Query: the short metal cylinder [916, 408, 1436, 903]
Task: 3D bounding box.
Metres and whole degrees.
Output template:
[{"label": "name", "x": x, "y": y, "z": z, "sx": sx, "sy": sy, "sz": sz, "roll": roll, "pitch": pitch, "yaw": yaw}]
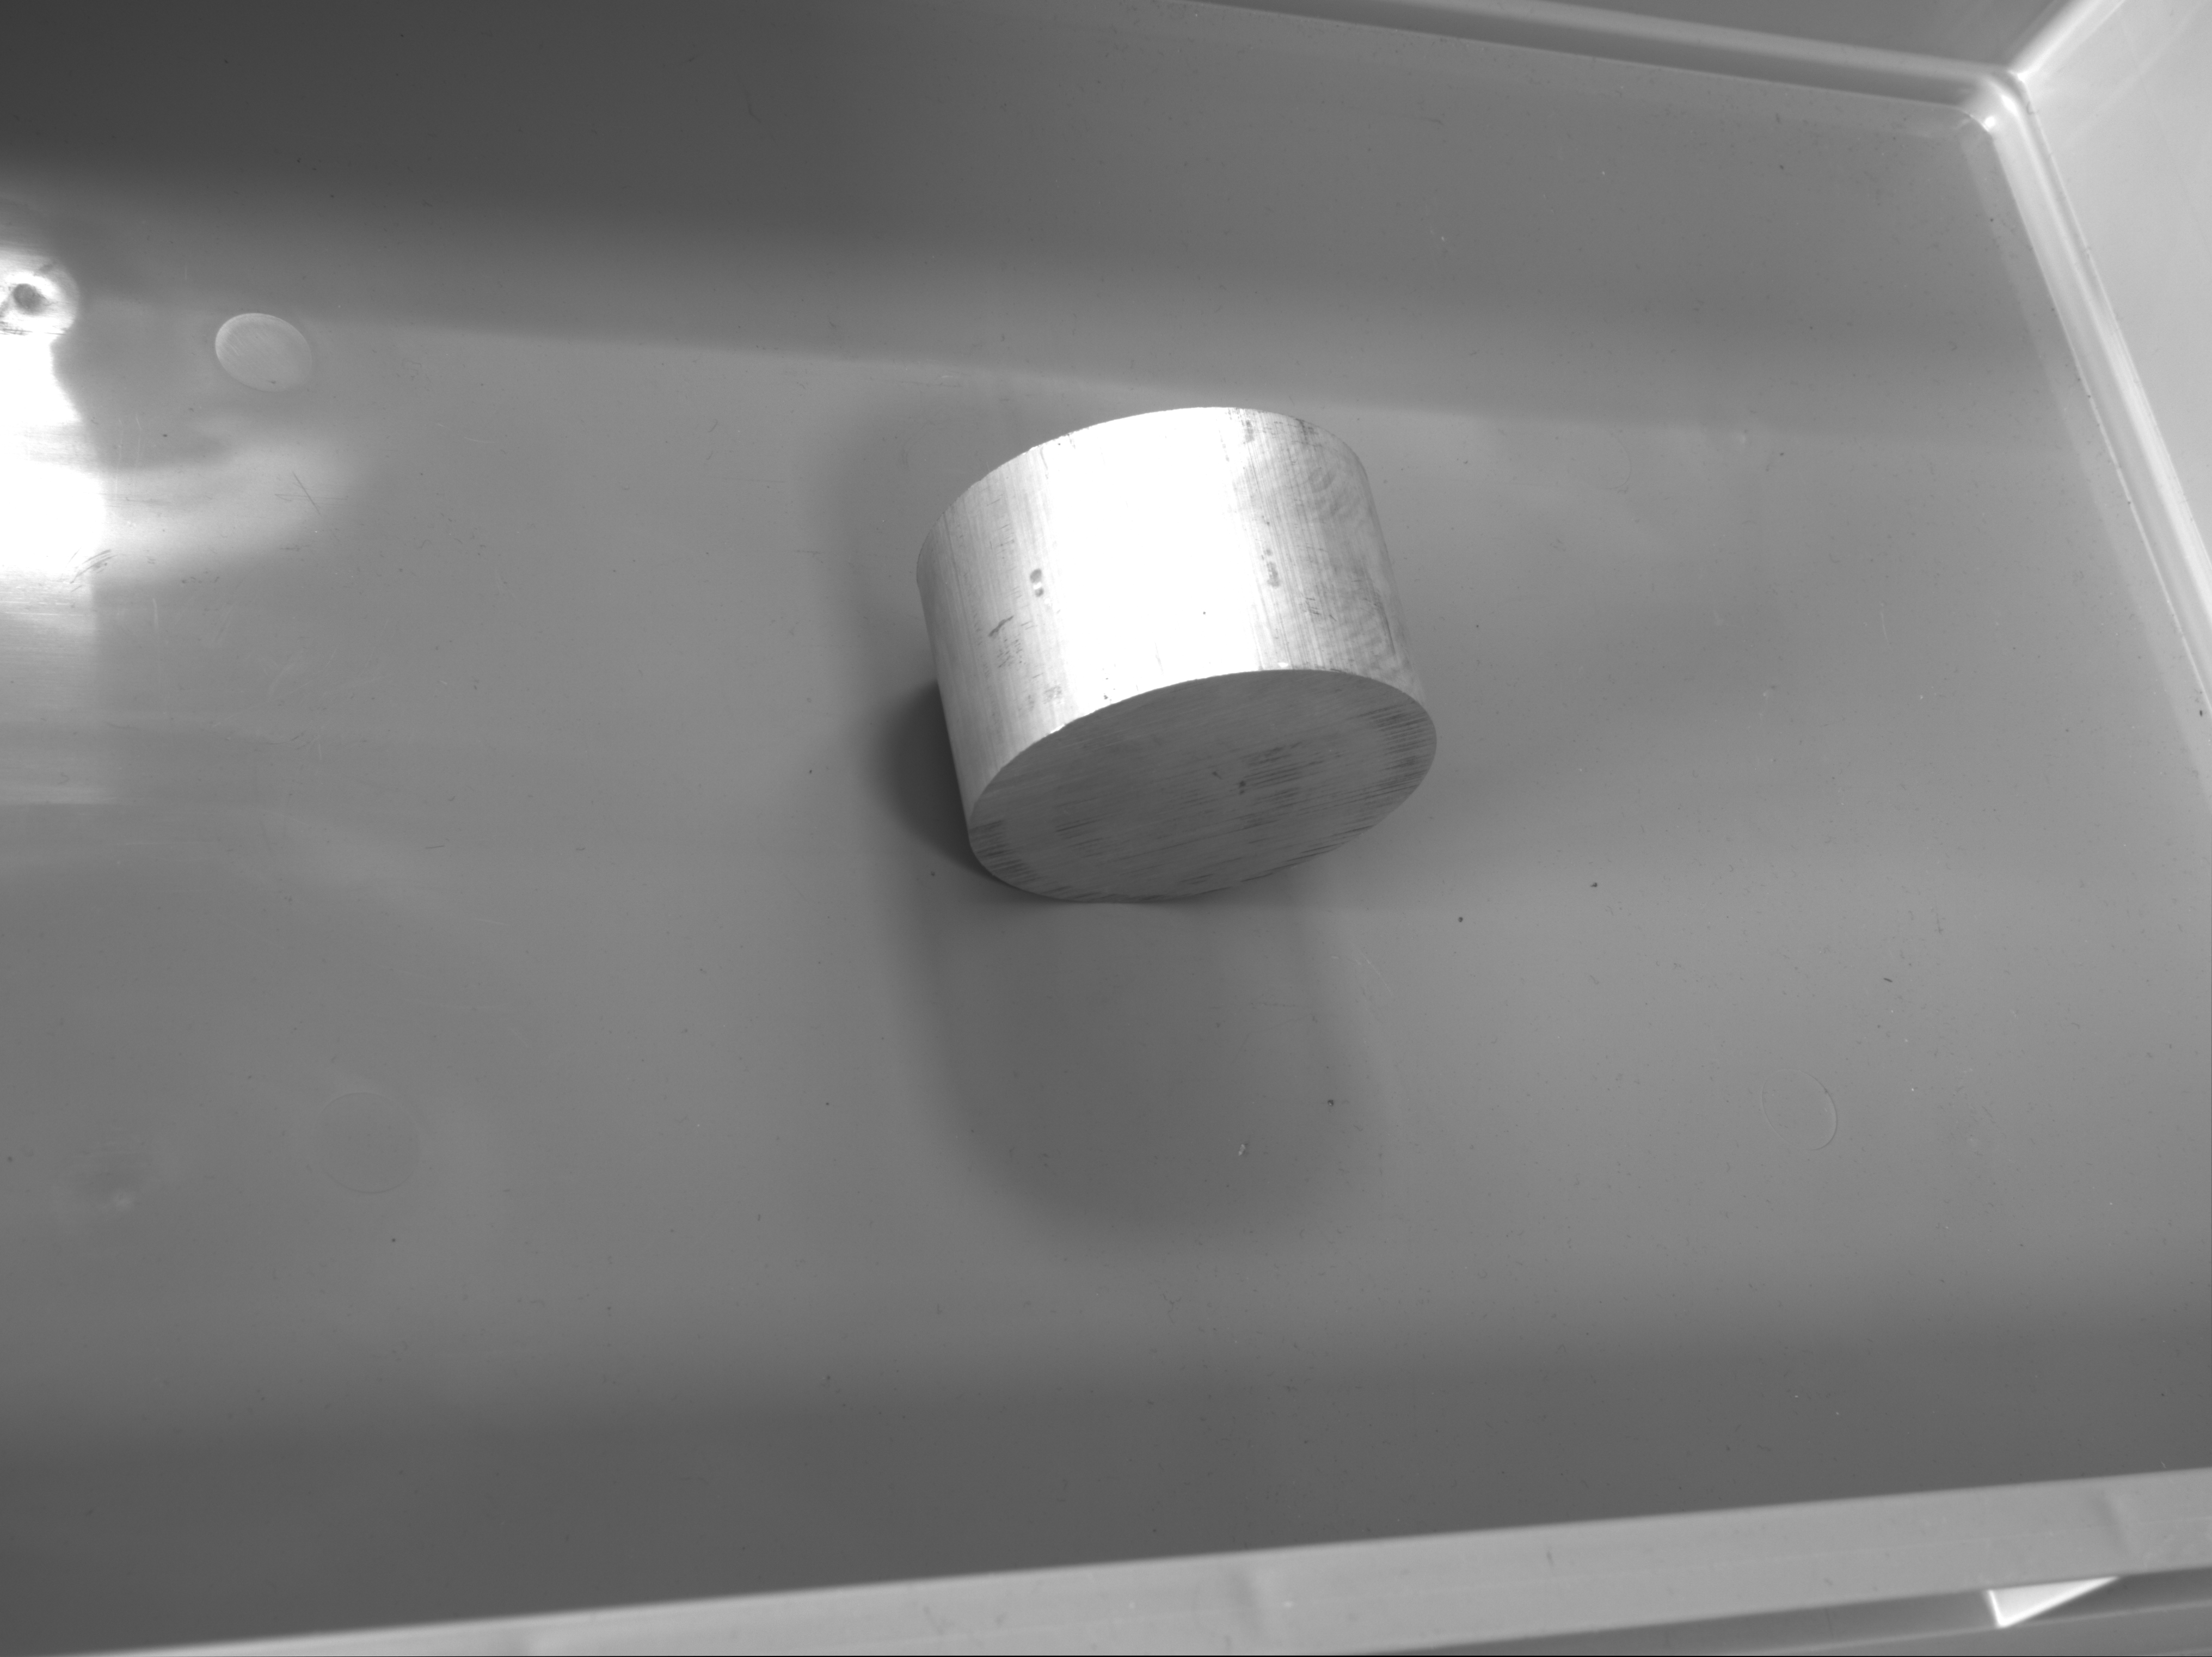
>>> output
[{"label": "short metal cylinder", "x": 0.011, "y": -0.028, "z": 0.624, "sx": 0.080, "sy": 0.080, "sz": 0.050, "roll": 2, "pitch": 61, "yaw": -27}]
